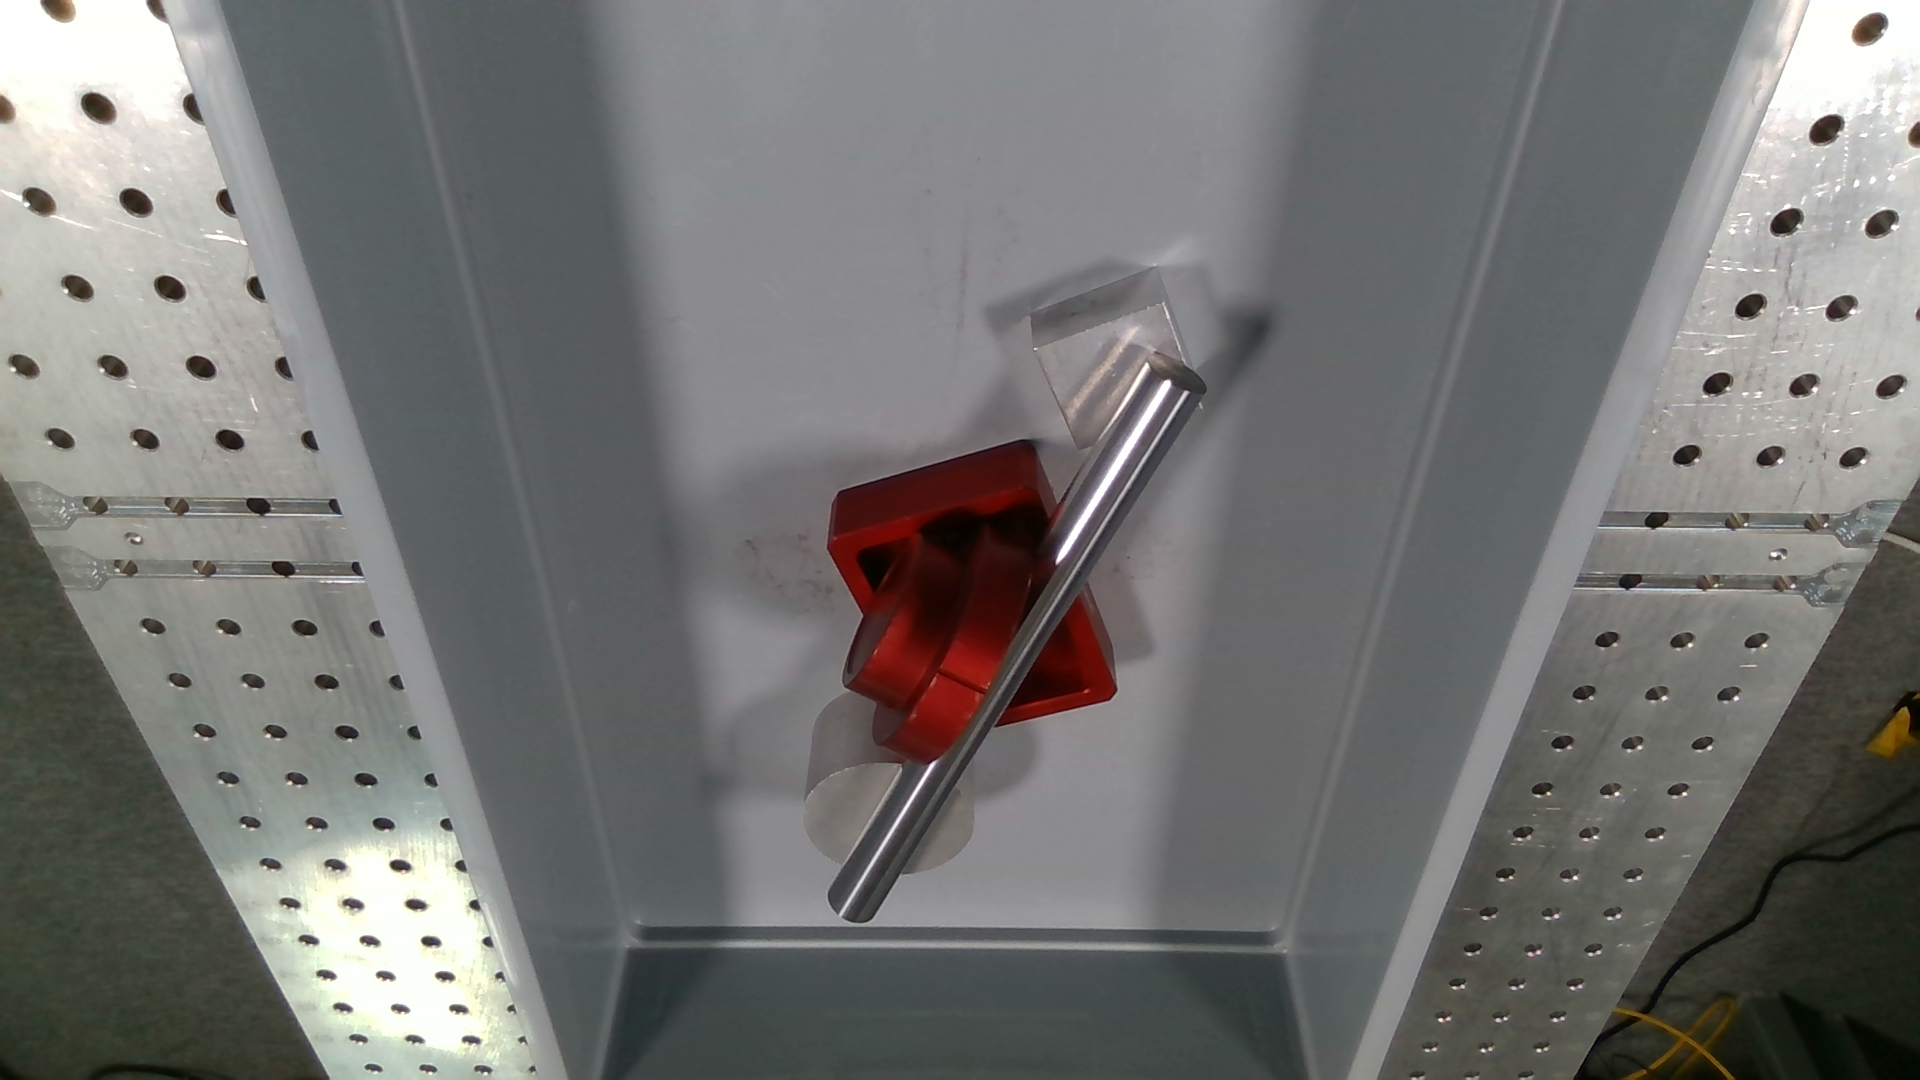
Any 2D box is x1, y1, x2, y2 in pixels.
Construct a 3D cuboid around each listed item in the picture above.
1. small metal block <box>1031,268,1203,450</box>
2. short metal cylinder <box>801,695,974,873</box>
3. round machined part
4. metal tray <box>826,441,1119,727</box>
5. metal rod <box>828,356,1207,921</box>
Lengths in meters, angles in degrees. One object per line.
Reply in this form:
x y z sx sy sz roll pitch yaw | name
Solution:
0.059 -0.068 0.521 0.050 0.025 0.050 -17 128 14 | small metal block
-0.034 0.115 0.658 0.080 0.050 0.080 0 130 0 | short metal cylinder
-0.014 0.036 0.543 0.042 0.098 0.098 26 126 -11 | round machined part
0.008 0.026 0.596 0.090 0.030 0.130 -15 128 12 | metal tray
0.014 0.054 0.570 0.025 0.025 0.301 20 121 -16 | metal rod
